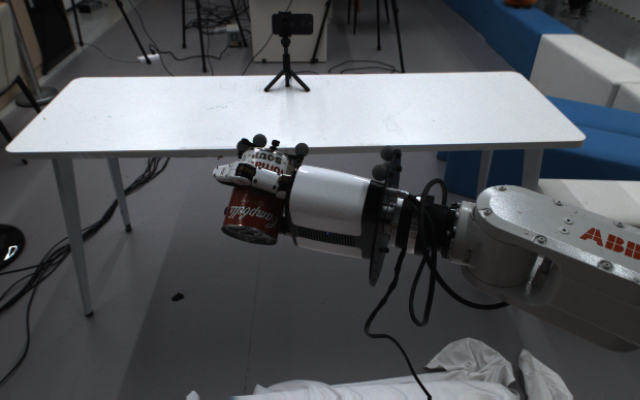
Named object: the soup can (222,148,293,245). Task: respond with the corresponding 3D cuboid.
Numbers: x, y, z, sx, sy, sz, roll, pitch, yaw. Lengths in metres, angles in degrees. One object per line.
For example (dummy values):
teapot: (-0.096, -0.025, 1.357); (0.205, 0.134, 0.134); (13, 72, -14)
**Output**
soup can: (-0.072, -0.003, 0.582); (0.067, 0.067, 0.101); (9, 71, 9)
